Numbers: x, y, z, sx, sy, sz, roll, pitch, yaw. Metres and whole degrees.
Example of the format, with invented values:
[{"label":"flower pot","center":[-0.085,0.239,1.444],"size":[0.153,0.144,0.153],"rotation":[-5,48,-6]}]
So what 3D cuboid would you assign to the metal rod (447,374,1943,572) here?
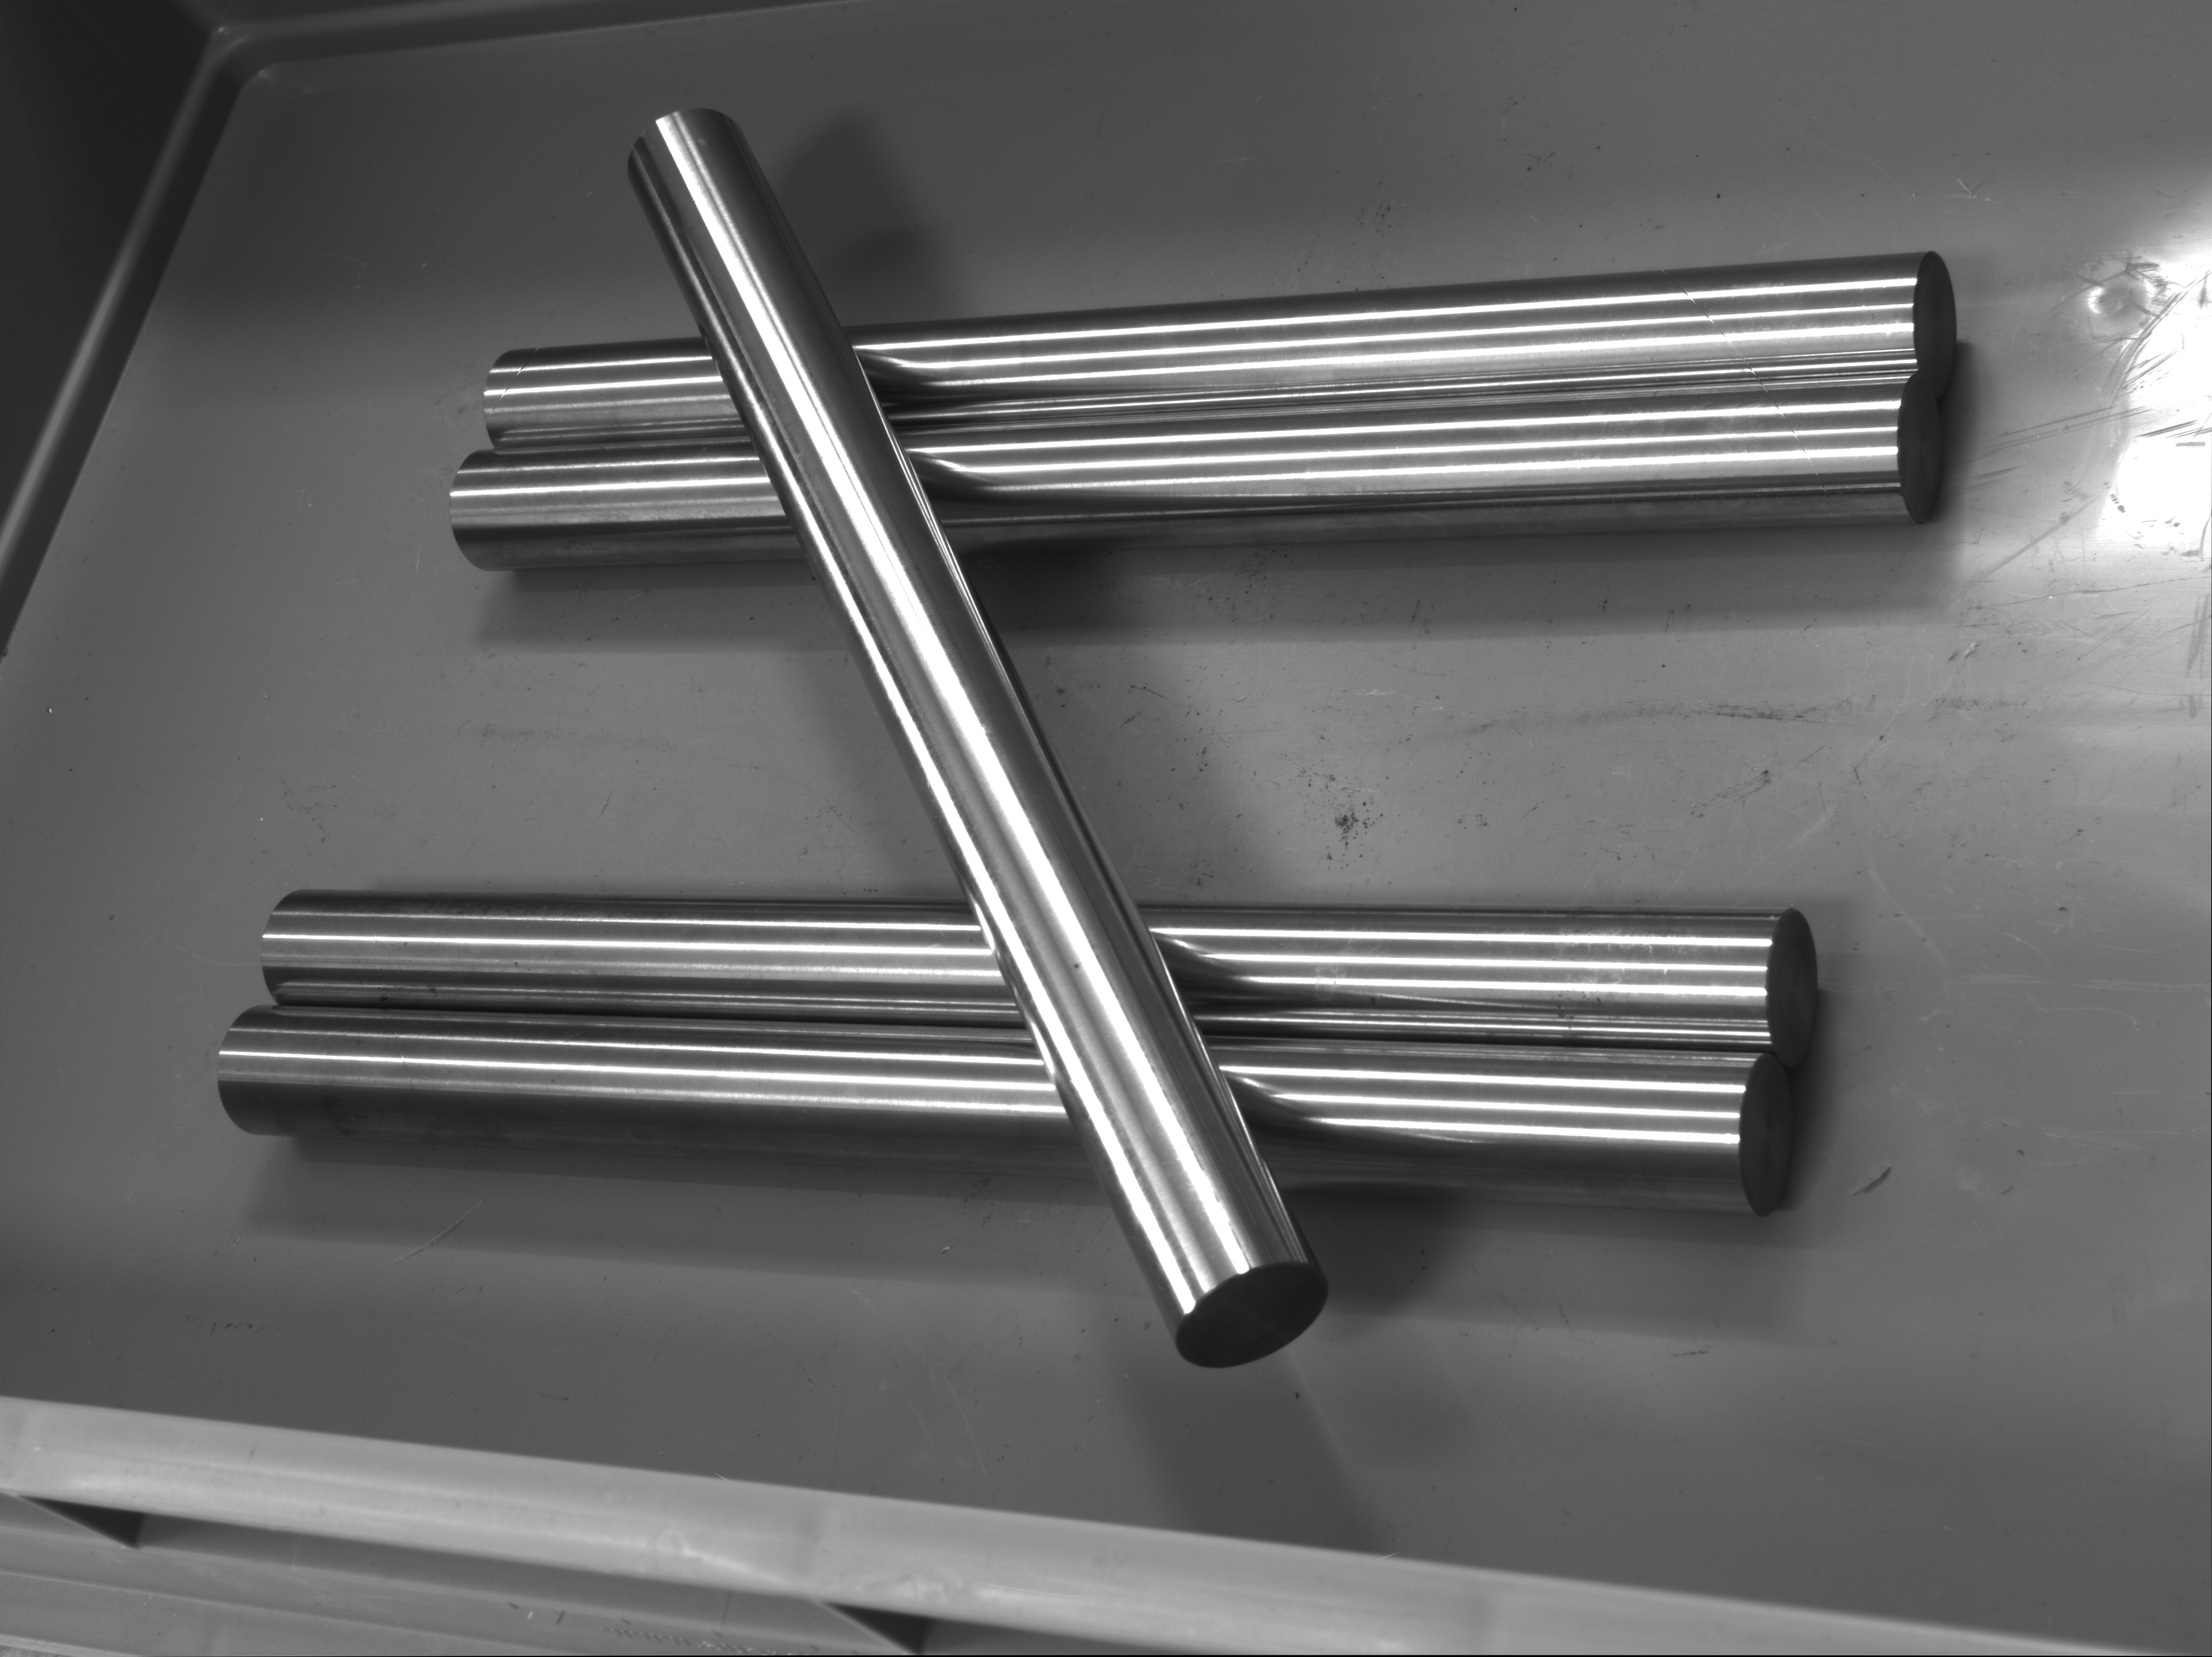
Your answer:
[{"label":"metal rod","center":[0.004,-0.064,0.680],"size":[0.299,0.025,0.025],"rotation":[1,62,29]}]

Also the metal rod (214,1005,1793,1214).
[{"label":"metal rod","center":[-0.031,0.046,0.631],"size":[0.299,0.025,0.025],"rotation":[0,62,28]}]

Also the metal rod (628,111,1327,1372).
[{"label":"metal rod","center":[-0.031,-0.030,0.647],"size":[0.025,0.025,0.299],"rotation":[-33,51,7]}]

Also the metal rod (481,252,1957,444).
[{"label":"metal rod","center":[0.009,-0.086,0.691],"size":[0.299,0.025,0.025],"rotation":[1,62,29]}]

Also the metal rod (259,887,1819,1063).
[{"label":"metal rod","center":[-0.025,0.024,0.641],"size":[0.299,0.025,0.025],"rotation":[0,62,28]}]
